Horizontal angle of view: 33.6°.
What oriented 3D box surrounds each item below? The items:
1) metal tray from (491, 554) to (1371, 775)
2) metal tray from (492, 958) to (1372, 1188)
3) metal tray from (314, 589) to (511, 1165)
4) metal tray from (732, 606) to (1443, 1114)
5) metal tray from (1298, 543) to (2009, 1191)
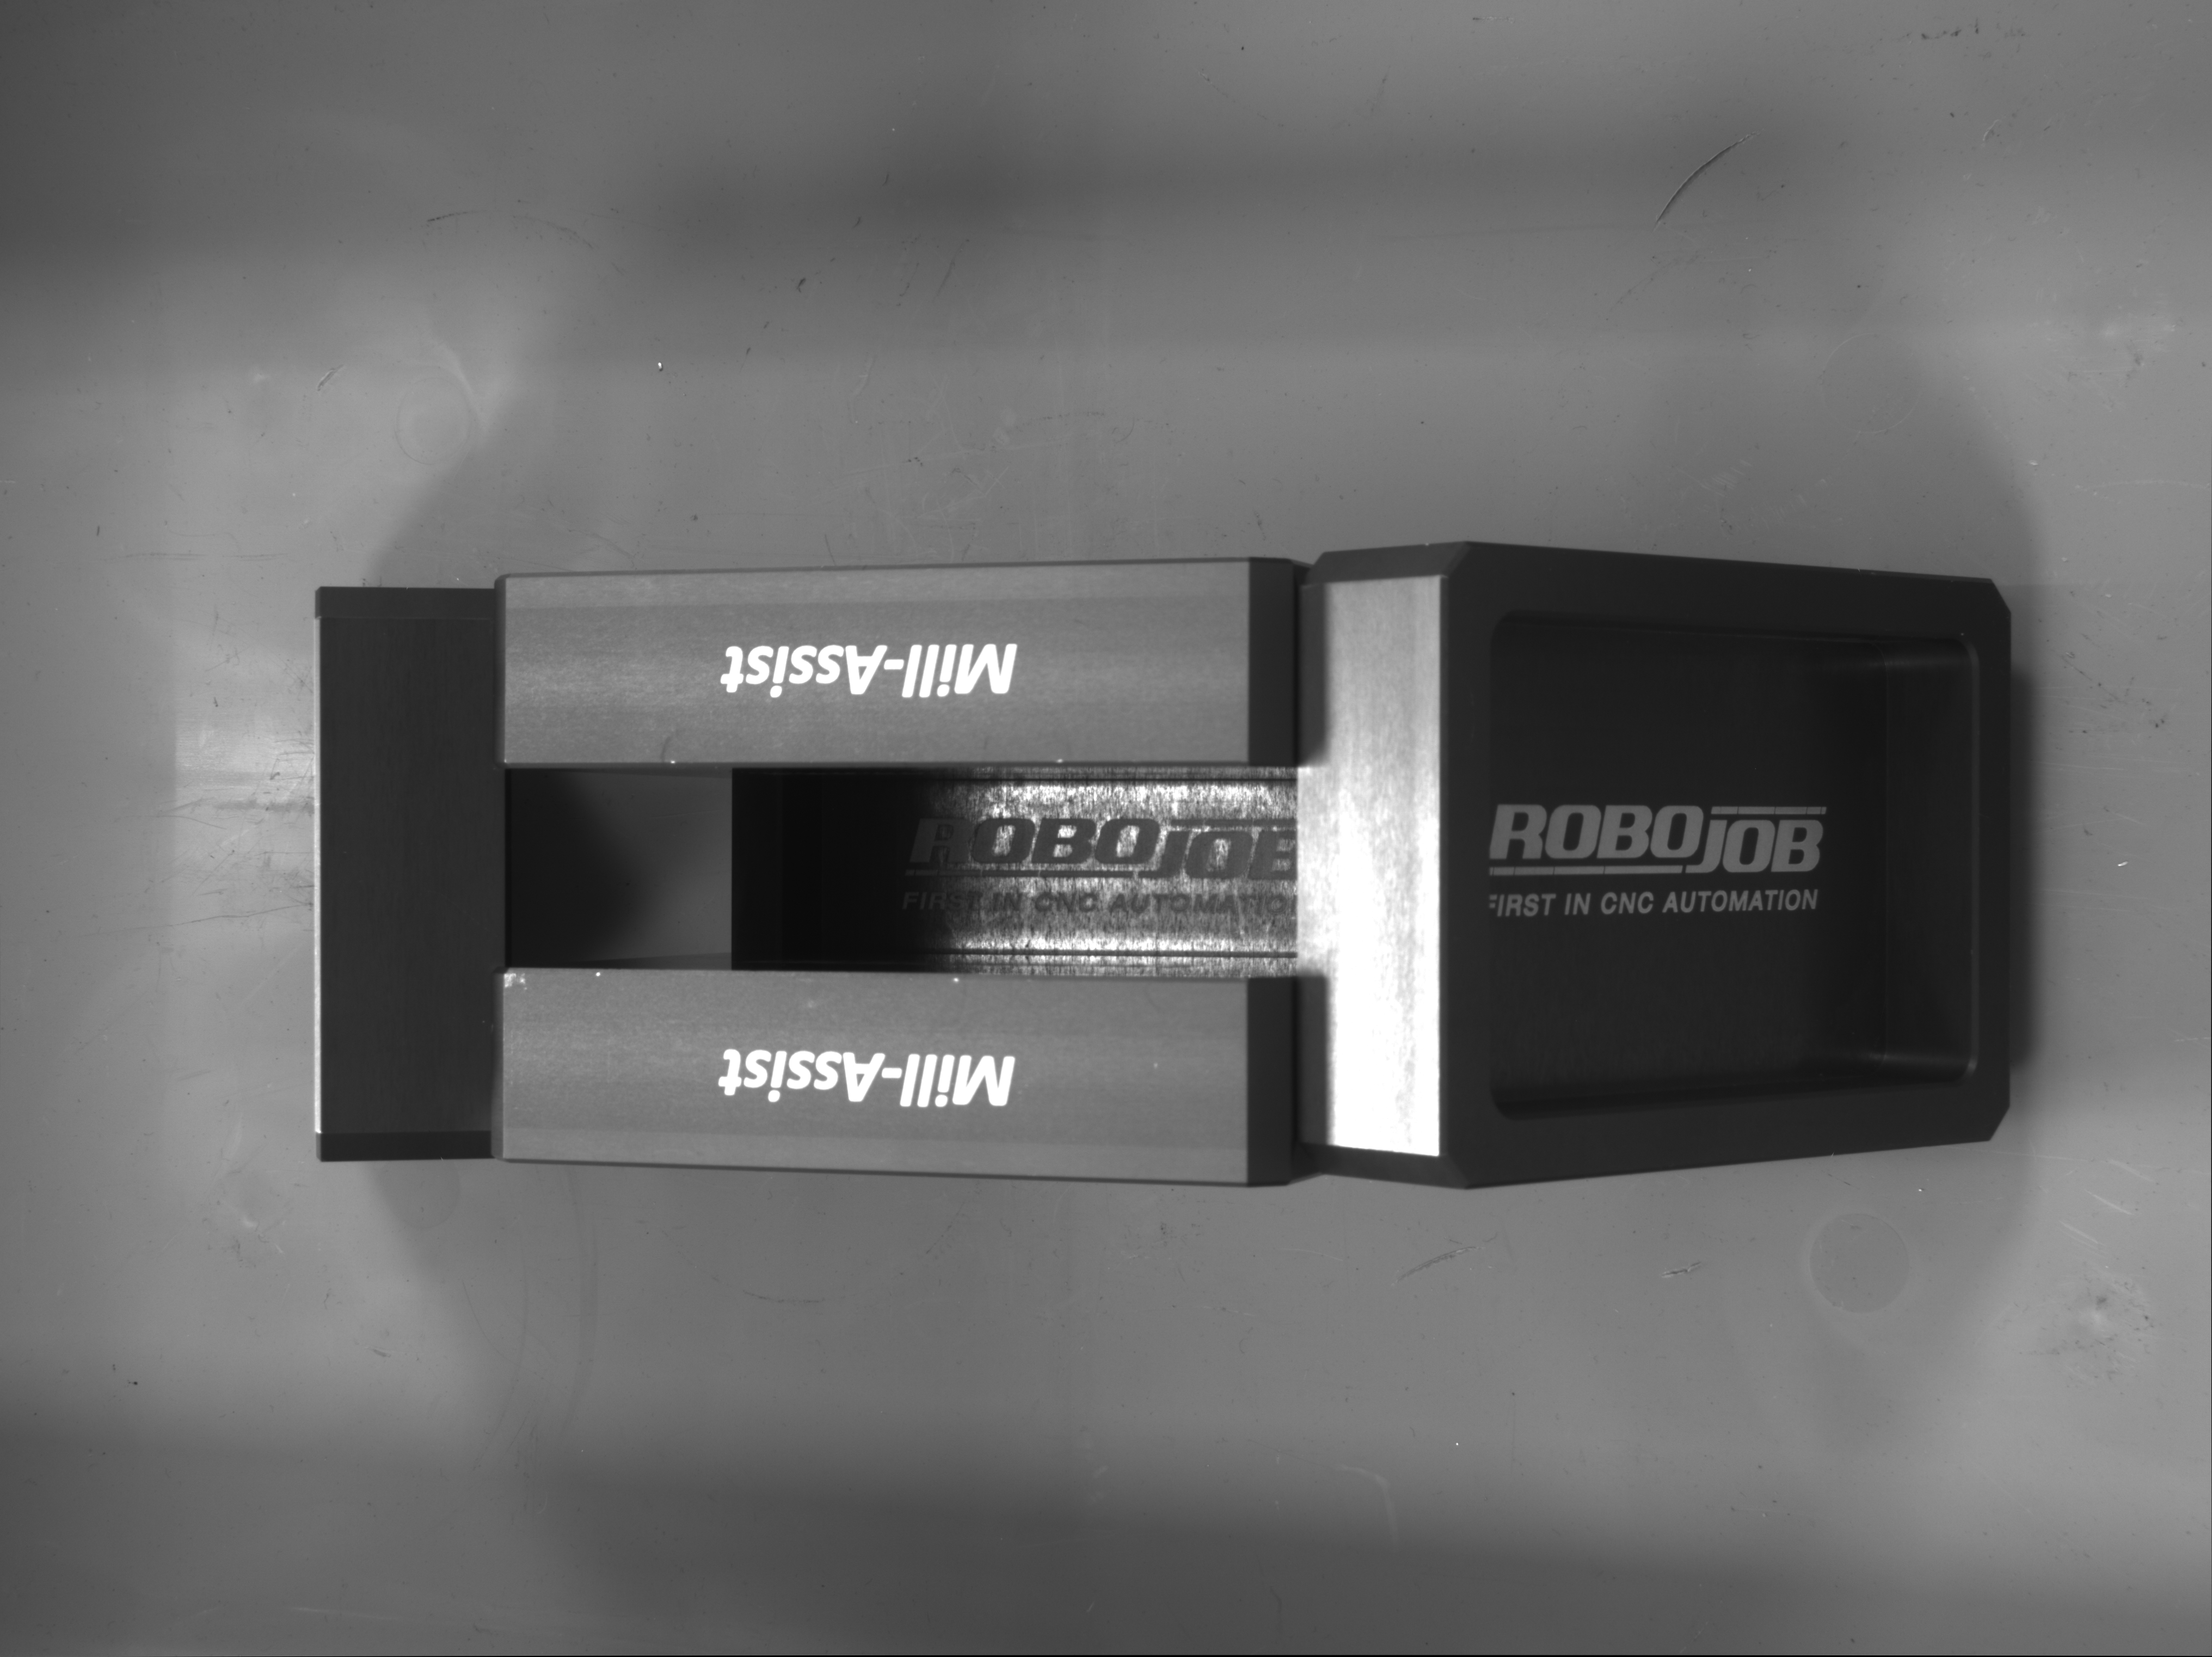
[{"bbox_3d":[-0.021,-0.024,0.585,0.130,0.090,0.030,0,90,20],"label":"metal tray"},{"bbox_3d":[-0.021,0.037,0.586,0.130,0.090,0.030,0,89,20],"label":"metal tray"},{"bbox_3d":[-0.121,0.007,0.635,0.030,0.130,0.090,0,91,-12],"label":"metal tray"},{"bbox_3d":[0.000,0.007,0.643,0.130,0.030,0.090,0,90,19],"label":"metal tray"},{"bbox_3d":[0.086,0.005,0.559,0.030,0.131,0.090,1,90,50],"label":"metal tray"}]
